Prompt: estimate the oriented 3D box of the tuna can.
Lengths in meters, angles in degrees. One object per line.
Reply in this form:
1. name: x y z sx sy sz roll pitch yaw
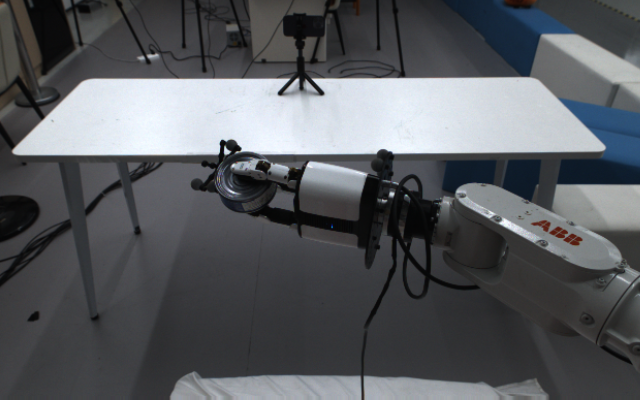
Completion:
1. tuna can: -0.102 -0.022 0.686 0.085 0.034 0.085 -1 62 1
